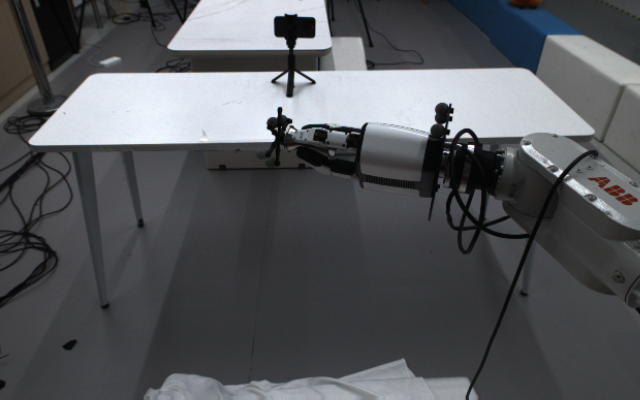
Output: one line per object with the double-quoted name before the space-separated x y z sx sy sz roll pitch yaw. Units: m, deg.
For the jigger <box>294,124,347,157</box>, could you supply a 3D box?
"jigger" -0.008 -0.088 0.701 0.071 0.043 0.043 10 35 16
